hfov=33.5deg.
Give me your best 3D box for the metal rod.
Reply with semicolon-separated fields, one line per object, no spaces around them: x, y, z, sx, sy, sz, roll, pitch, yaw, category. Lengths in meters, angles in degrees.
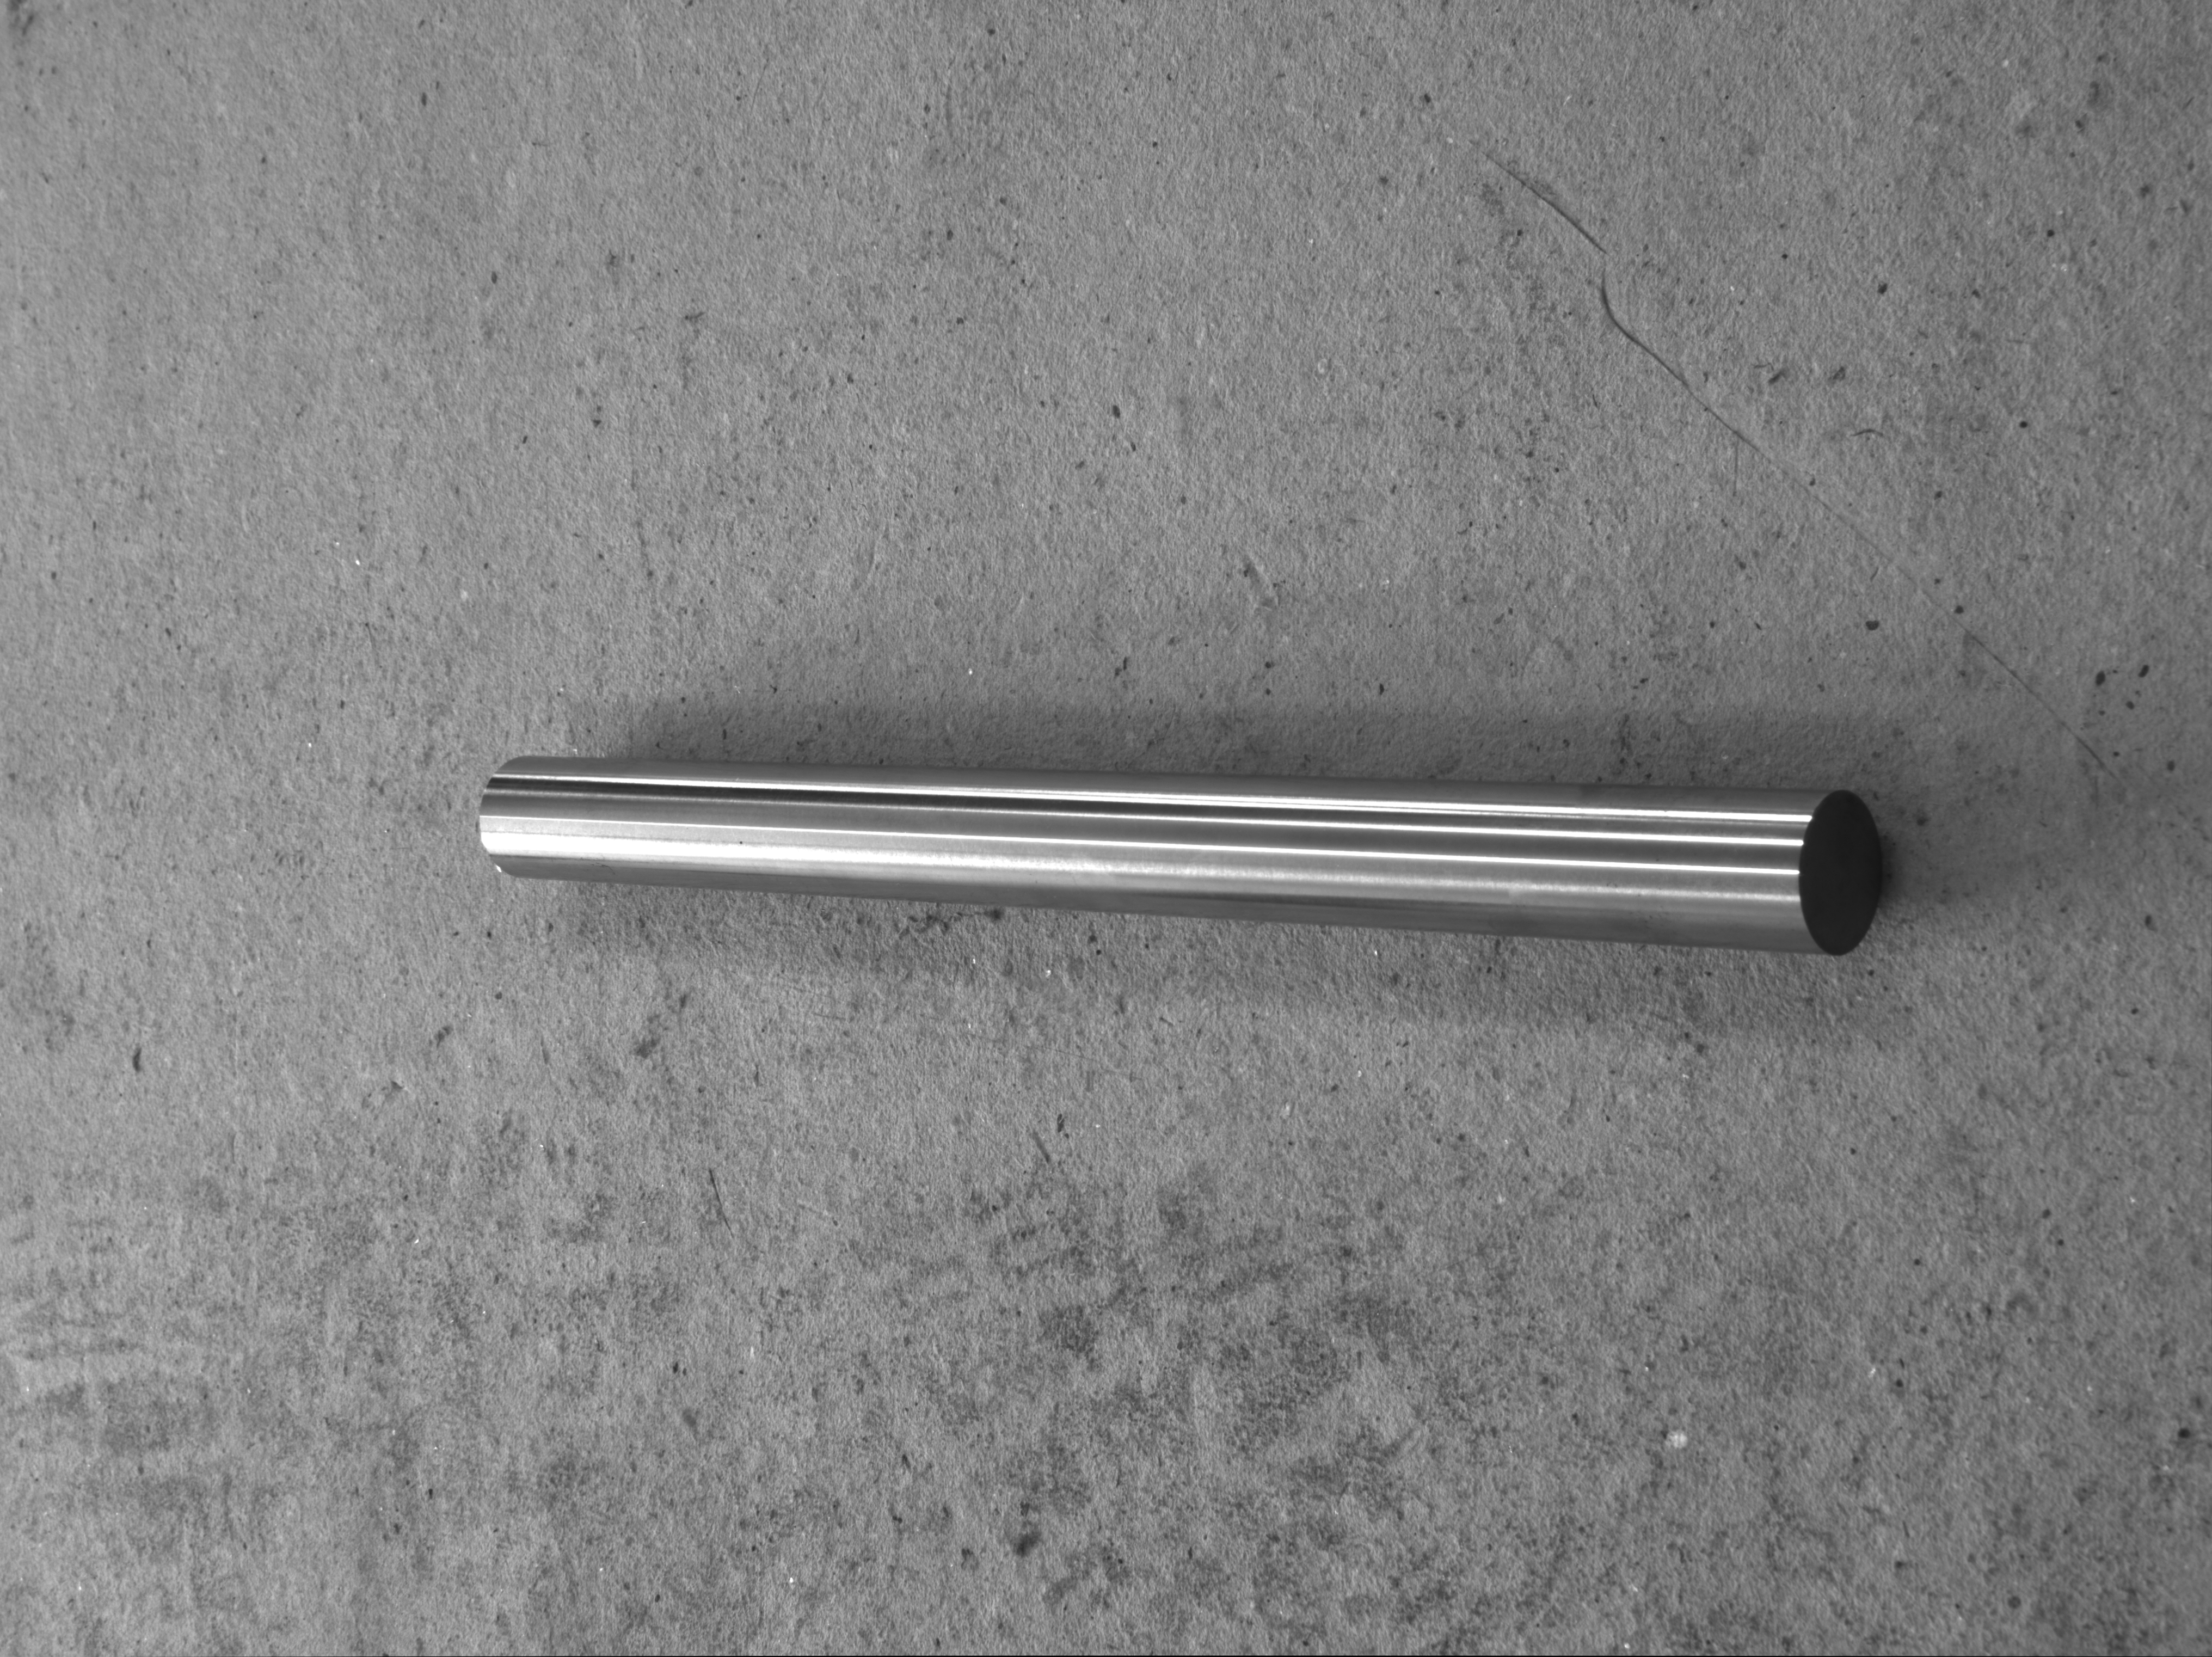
-0.004;0.002;0.649;0.299;0.025;0.025;2;91;40;metal rod
